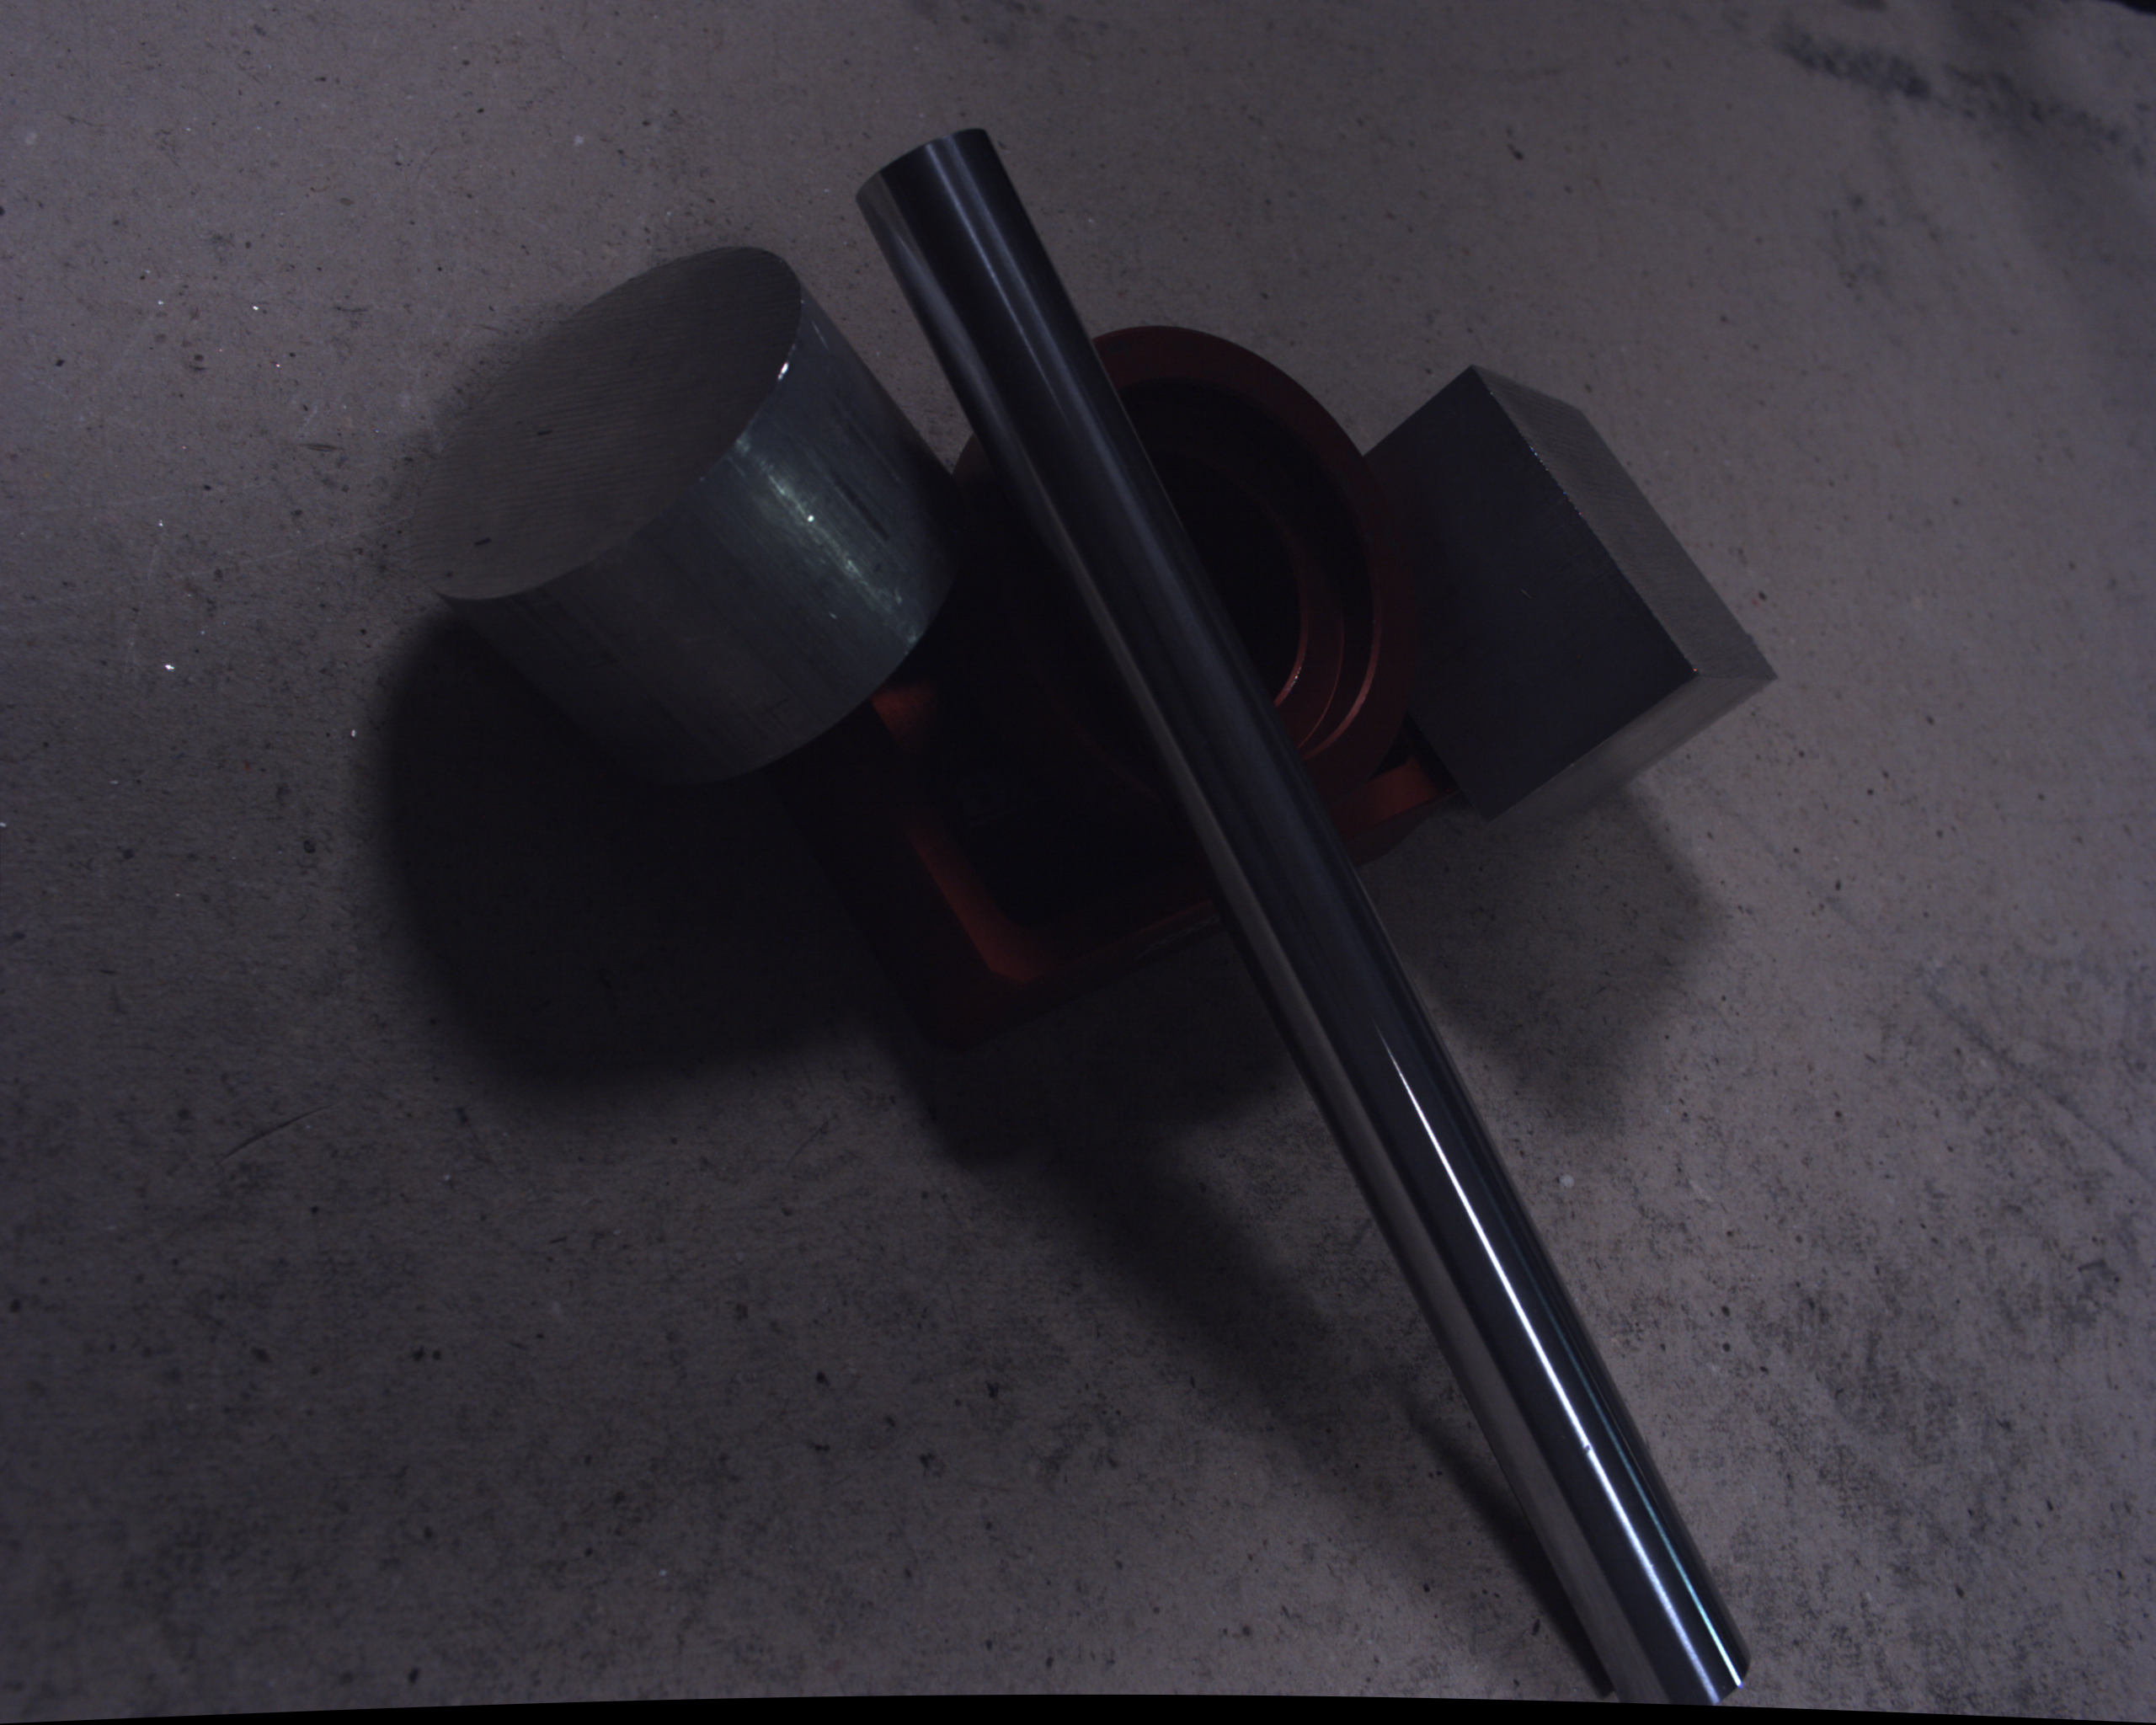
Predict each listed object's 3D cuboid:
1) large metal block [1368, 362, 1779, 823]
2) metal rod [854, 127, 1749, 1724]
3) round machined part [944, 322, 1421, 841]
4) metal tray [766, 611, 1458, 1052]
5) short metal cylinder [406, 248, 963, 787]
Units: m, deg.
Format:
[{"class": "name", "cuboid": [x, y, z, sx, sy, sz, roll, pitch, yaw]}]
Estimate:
[{"class": "large metal block", "cuboid": [0.102, -0.058, 0.460, 0.080, 0.050, 0.080, 58, 27, 13]}, {"class": "metal rod", "cuboid": [0.041, 0.015, 0.364, 0.025, 0.025, 0.299, -31, 96, -38]}, {"class": "round machined part", "cuboid": [0.016, -0.051, 0.404, 0.099, 0.042, 0.098, 10, 72, -31]}, {"class": "metal tray", "cuboid": [0.006, -0.027, 0.423, 0.131, 0.030, 0.090, -23, 74, -36]}, {"class": "short metal cylinder", "cuboid": [-0.068, -0.060, 0.363, 0.050, 0.080, 0.080, 50, 39, -42]}]
